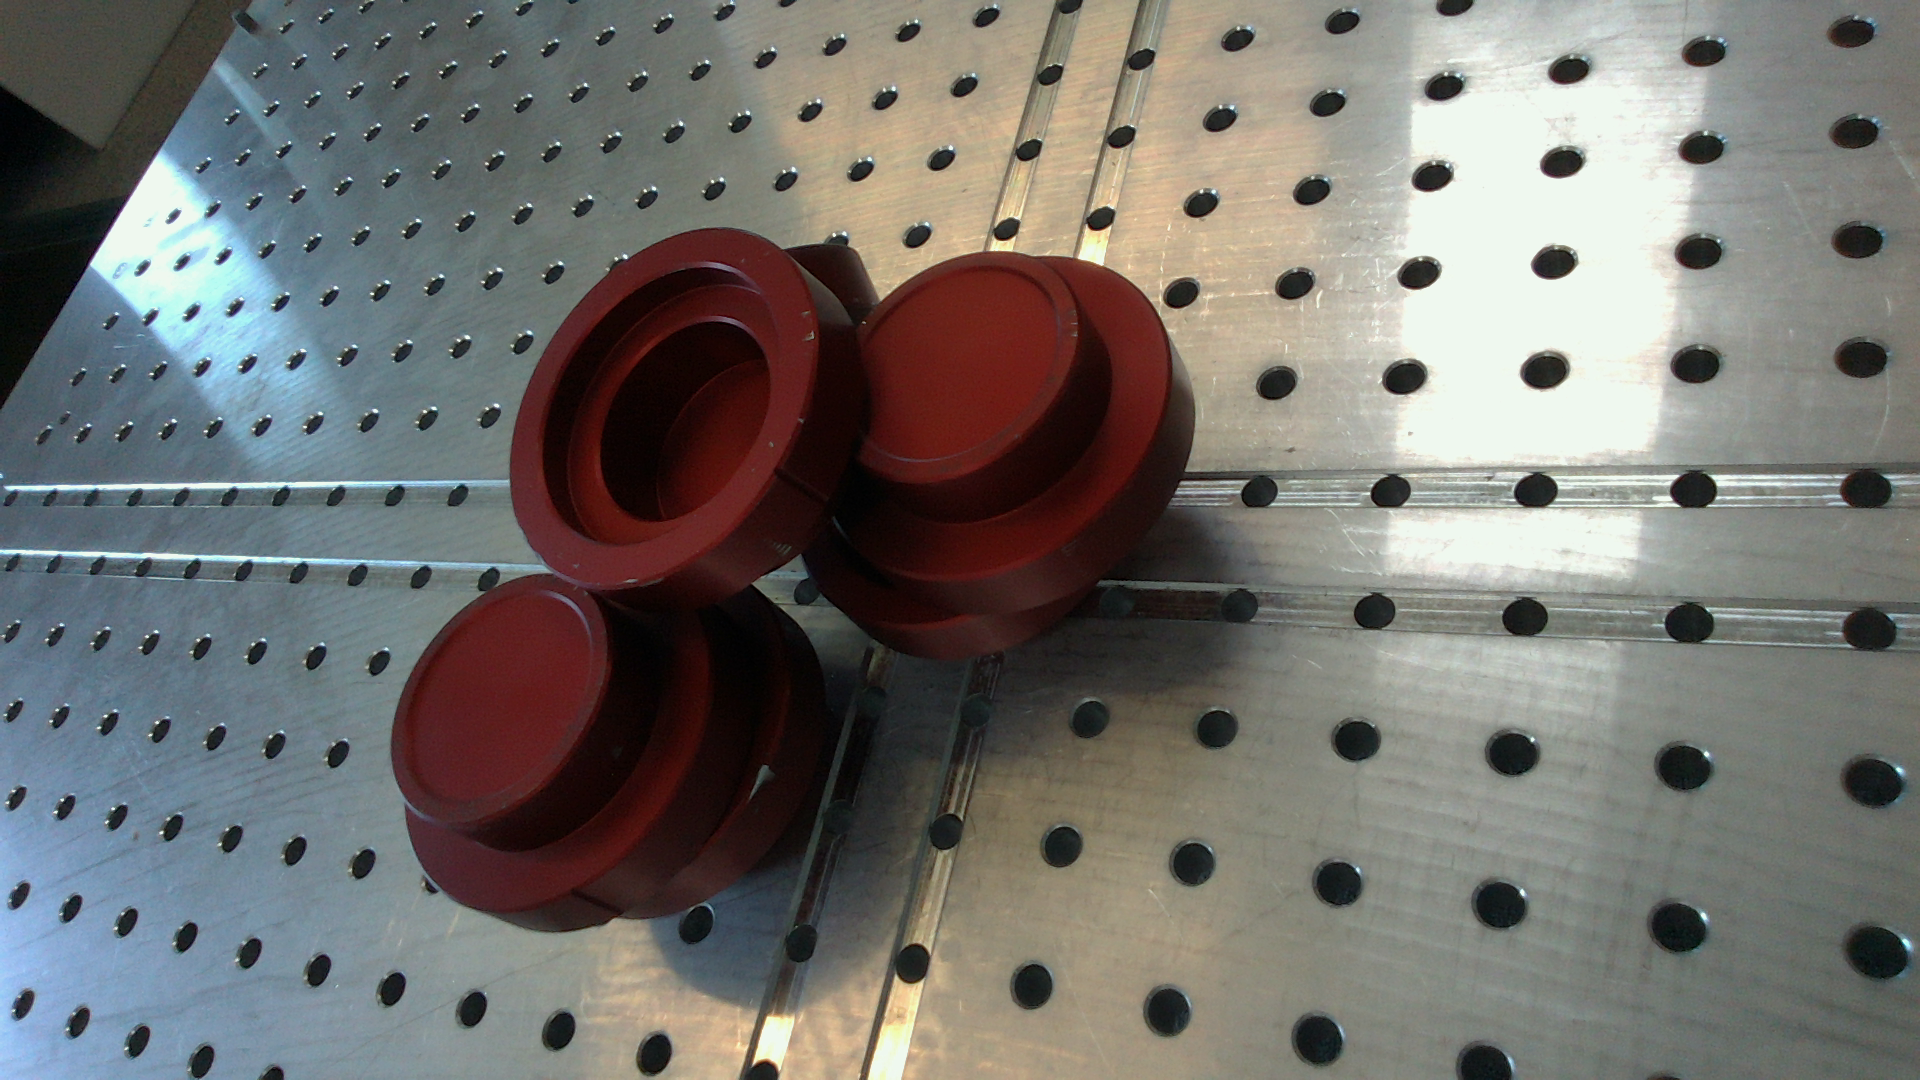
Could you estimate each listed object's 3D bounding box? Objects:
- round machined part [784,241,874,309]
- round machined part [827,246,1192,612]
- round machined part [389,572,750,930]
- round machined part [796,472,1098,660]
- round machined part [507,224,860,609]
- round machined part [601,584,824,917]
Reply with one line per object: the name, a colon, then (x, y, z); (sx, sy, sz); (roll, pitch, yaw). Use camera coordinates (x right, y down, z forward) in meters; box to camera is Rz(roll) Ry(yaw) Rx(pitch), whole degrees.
round machined part: (-0.069, -0.051, 0.430); (0.098, 0.098, 0.042); (-25, 88, 13)
round machined part: (0.006, -0.035, 0.348); (0.098, 0.042, 0.098); (-14, 55, 21)
round machined part: (-0.108, 0.048, 0.359); (0.098, 0.042, 0.098); (-13, 56, 21)
round machined part: (-0.005, -0.020, 0.374); (0.098, 0.042, 0.098); (-13, 56, 21)
round machined part: (-0.066, -0.028, 0.356); (0.098, 0.042, 0.098); (-13, 63, 27)
round machined part: (-0.090, 0.049, 0.377); (0.098, 0.042, 0.098); (-13, 56, 21)
